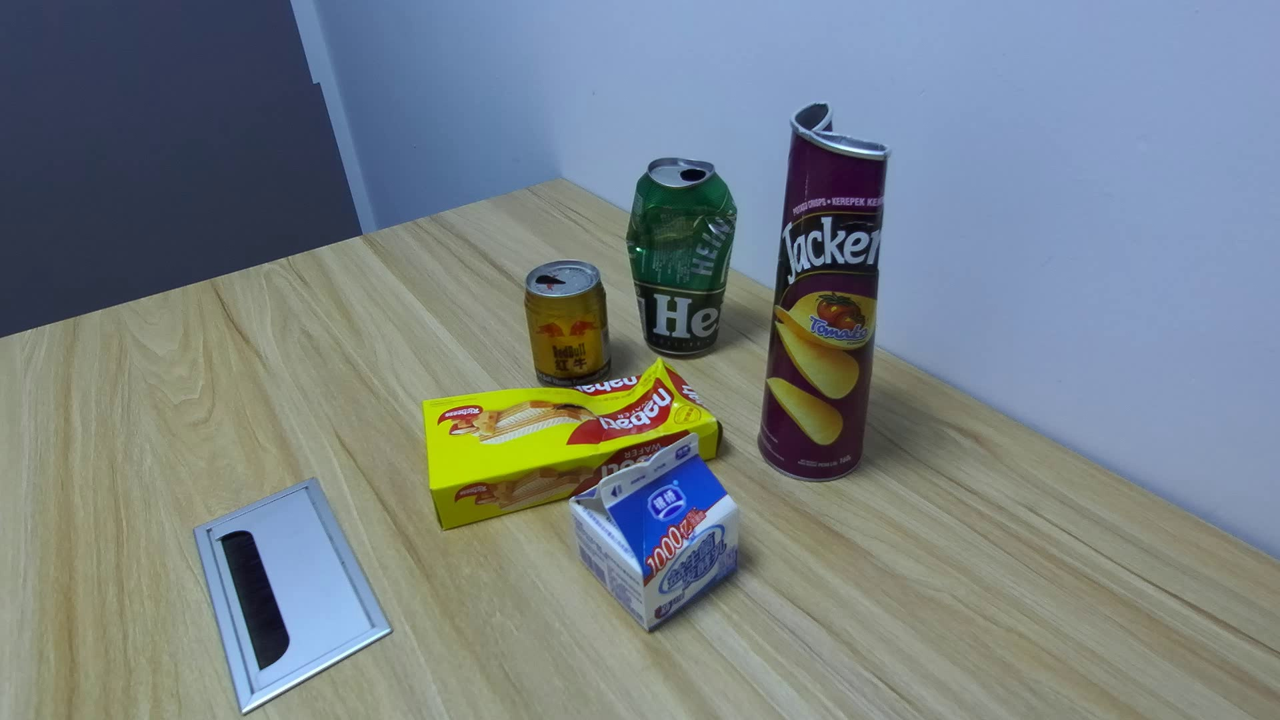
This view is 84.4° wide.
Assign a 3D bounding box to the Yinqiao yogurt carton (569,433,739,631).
[{"bbox_3d":[0.009,0.089,0.413,0.076,0.092,0.073,-26,40,-28],"label":"Yinqiao yogurt carton"}]

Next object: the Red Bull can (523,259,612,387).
[{"bbox_3d":[-0.059,-0.027,0.586,0.067,0.093,0.067,-2,34,2],"label":"Red Bull can"}]

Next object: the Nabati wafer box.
[{"bbox_3d":[-0.051,0.050,0.520,0.205,0.042,0.106,-11,37,-13],"label":"Nabati wafer box"}]

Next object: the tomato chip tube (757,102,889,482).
[{"bbox_3d":[0.120,-0.032,0.451,0.076,0.235,0.078,20,41,30],"label":"tomato chip tube"}]

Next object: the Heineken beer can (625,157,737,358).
[{"bbox_3d":[0.033,-0.083,0.591,0.066,0.164,0.077,-22,42,-23],"label":"Heineken beer can"}]
